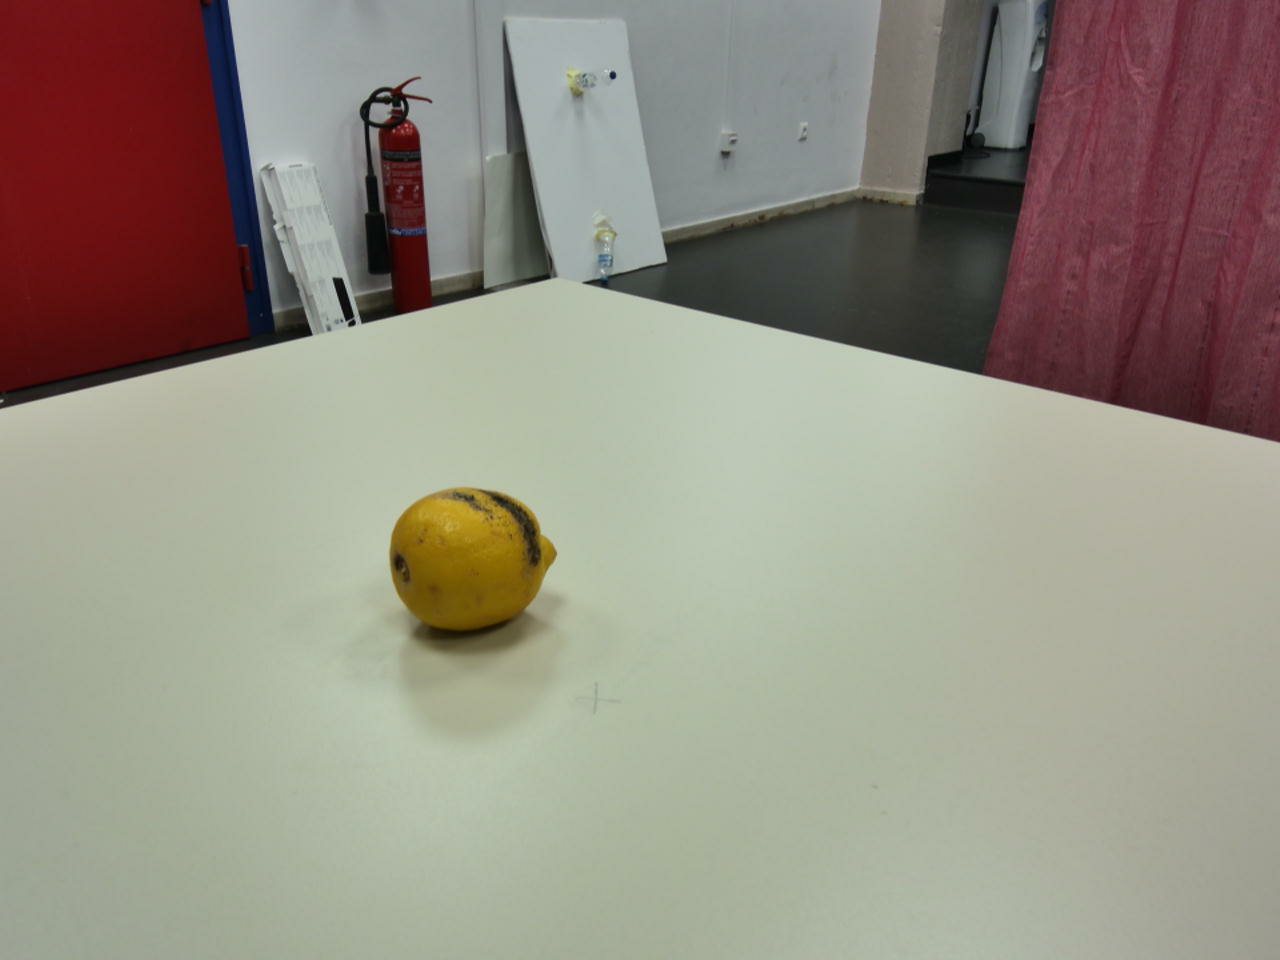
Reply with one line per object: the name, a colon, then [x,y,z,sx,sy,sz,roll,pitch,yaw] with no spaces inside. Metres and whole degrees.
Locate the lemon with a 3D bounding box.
lemon: [-0.068,0.030,0.396,0.058,0.056,0.061,14,26,28]
